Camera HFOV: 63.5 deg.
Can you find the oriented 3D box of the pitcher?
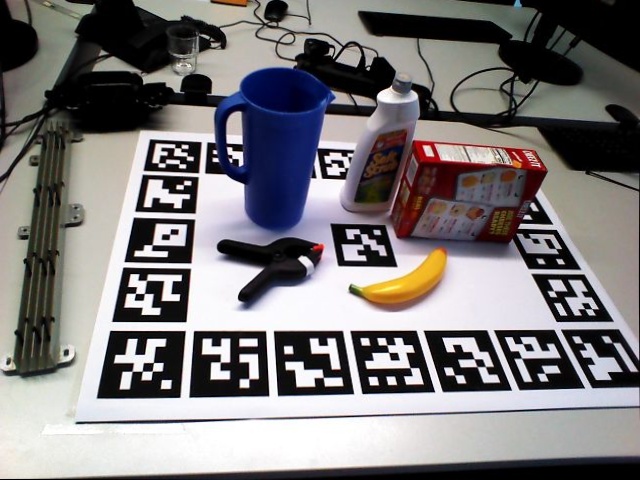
[{"bbox_3d":[-0.072,-0.141,0.816,0.188,0.244,0.133,-11,46,-25],"label":"pitcher"}]

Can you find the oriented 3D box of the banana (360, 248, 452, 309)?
[{"bbox_3d":[0.157,0.065,0.831,0.196,0.039,0.074,-26,53,-32],"label":"banana"}]

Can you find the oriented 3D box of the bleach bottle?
[{"bbox_3d":[0.106,-0.152,0.887,0.102,0.252,0.067,1,43,-9],"label":"bleach bottle"}]

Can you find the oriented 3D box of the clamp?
[{"bbox_3d":[-0.062,0.040,0.808,0.164,0.037,0.121,-10,45,-23],"label":"clamp"}]

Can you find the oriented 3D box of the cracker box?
[{"bbox_3d":[0.264,-0.078,0.878,0.214,0.165,0.071,1,41,-7],"label":"cracker box"}]
